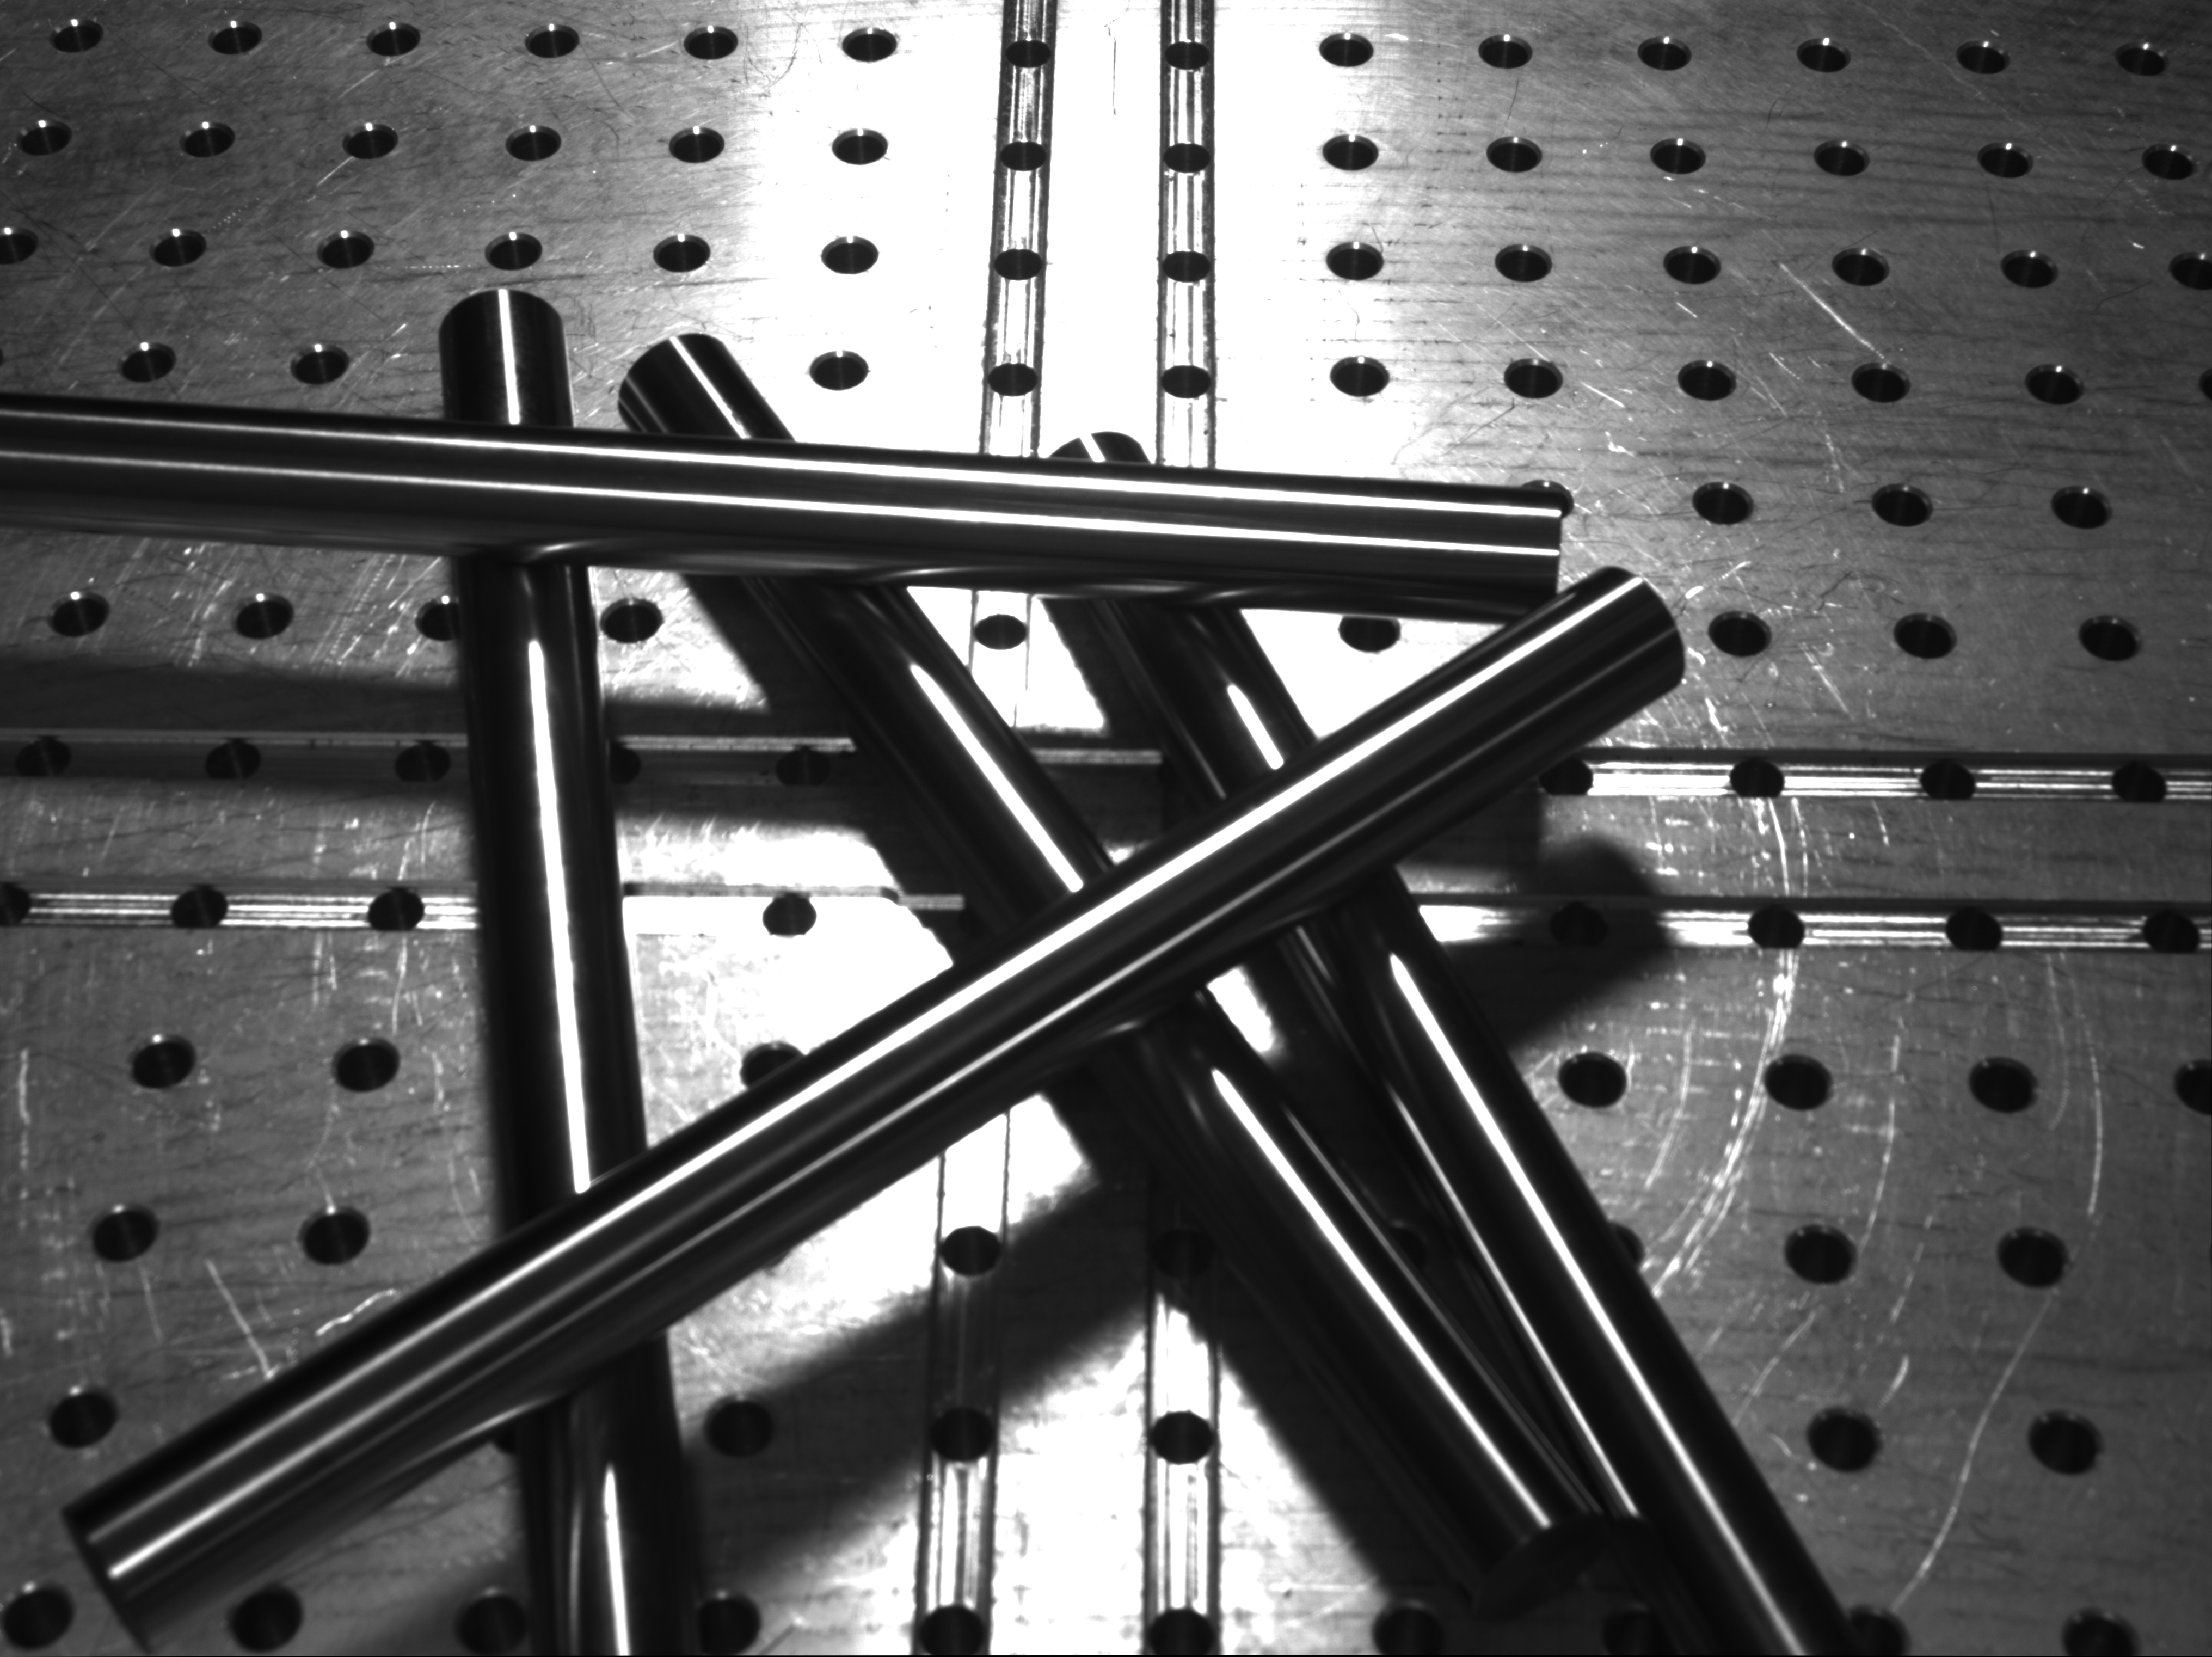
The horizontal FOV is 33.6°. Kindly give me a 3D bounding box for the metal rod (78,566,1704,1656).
[{"bbox_3d":[-0.022,0.036,0.581,0.300,0.025,0.025,-31,56,-24],"label":"metal rod"}]

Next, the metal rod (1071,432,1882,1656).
[{"bbox_3d":[0.056,0.039,0.612,0.025,0.025,0.299,-17,52,-14],"label":"metal rod"}]

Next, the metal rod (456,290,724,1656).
[{"bbox_3d":[-0.092,0.015,0.631,0.025,0.025,0.300,-7,50,-6],"label":"metal rod"}]

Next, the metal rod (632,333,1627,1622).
[{"bbox_3d":[-0.007,0.012,0.634,0.025,0.025,0.299,-24,54,-19],"label":"metal rod"}]

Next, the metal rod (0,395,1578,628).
[{"bbox_3d":[-0.066,-0.058,0.661,0.300,0.025,0.025,4,50,3],"label":"metal rod"}]
